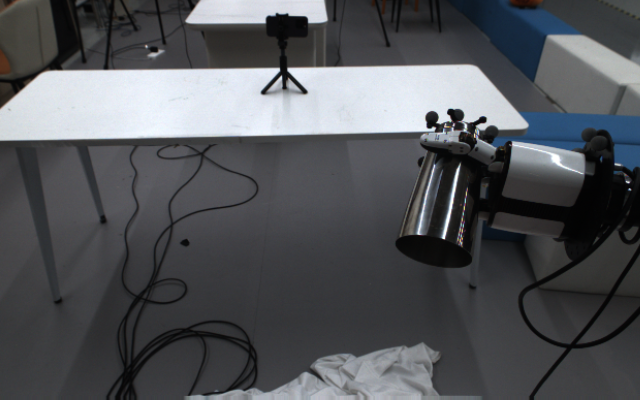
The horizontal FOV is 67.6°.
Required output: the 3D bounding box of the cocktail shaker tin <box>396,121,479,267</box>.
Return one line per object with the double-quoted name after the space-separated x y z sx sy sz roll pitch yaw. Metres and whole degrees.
0.161 -0.015 0.606 0.093 0.093 0.170 13 65 15 "cocktail shaker tin"
